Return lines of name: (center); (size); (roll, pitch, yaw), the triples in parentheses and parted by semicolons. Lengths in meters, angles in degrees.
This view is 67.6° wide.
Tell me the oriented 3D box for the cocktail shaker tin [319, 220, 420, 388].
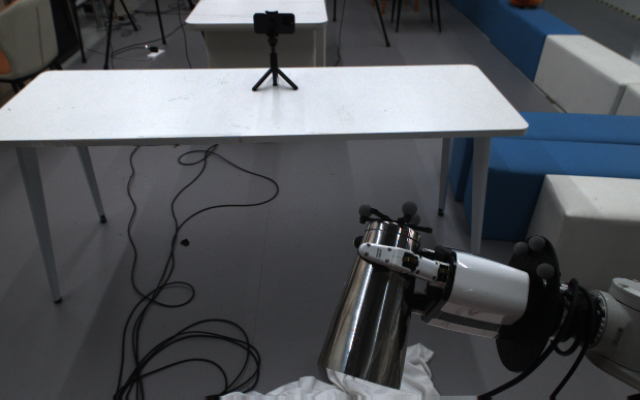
cocktail shaker tin: (0.066, 0.113, 0.553); (0.093, 0.093, 0.170); (12, 72, 14)
